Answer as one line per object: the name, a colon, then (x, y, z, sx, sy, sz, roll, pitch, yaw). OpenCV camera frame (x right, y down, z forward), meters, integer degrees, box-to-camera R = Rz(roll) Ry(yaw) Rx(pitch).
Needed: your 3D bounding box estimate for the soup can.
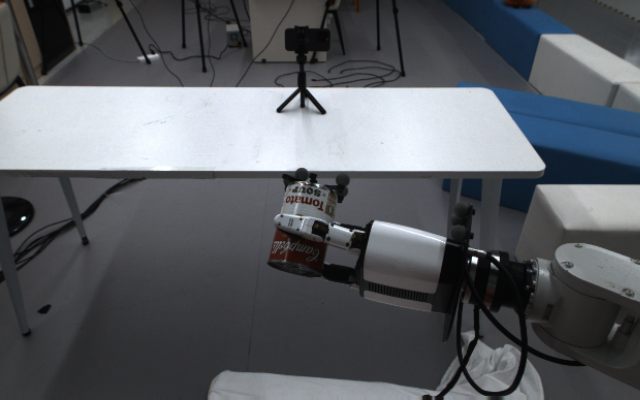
soup can: (-0.018, 0.035, 0.591, 0.067, 0.067, 0.101, 9, 72, 10)
